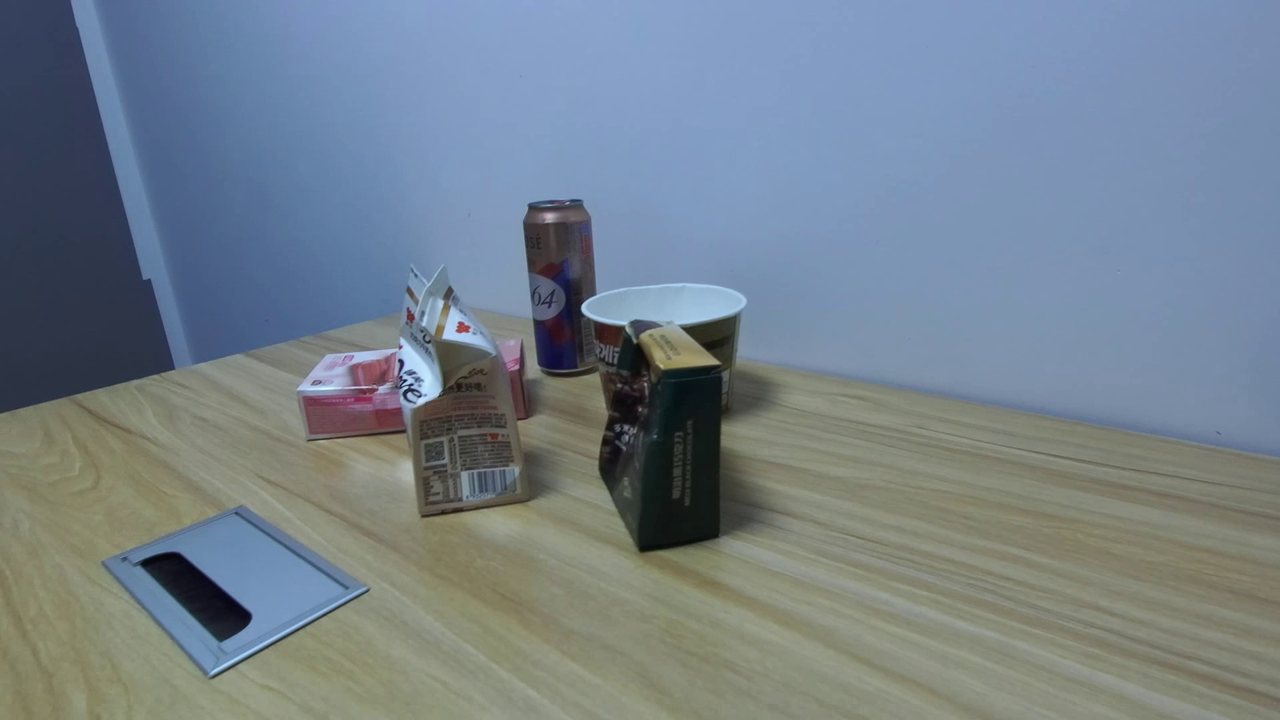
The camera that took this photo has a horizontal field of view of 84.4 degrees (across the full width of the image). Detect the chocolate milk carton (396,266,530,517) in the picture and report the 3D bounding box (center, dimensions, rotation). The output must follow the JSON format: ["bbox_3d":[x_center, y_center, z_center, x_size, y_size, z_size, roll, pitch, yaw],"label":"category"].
[{"bbox_3d":[-0.124,0.016,0.473,0.074,0.155,0.076,-9,-160,-11],"label":"chocolate milk carton"}]

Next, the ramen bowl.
[{"bbox_3d":[0.023,-0.006,0.612,0.140,0.095,0.140,-4,-161,2],"label":"ramen bowl"}]

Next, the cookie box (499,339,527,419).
[{"bbox_3d":[-0.163,0.019,0.672,0.105,0.049,0.187,-8,-168,-6],"label":"cookie box"}]

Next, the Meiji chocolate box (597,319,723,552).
[{"bbox_3d":[0.013,0.041,0.443,0.052,0.117,0.117,0,-163,-16],"label":"Meiji chocolate box"}]

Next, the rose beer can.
[{"bbox_3d":[-0.077,-0.071,0.710,0.068,0.169,0.068,-3,-163,1],"label":"rose beer can"}]
